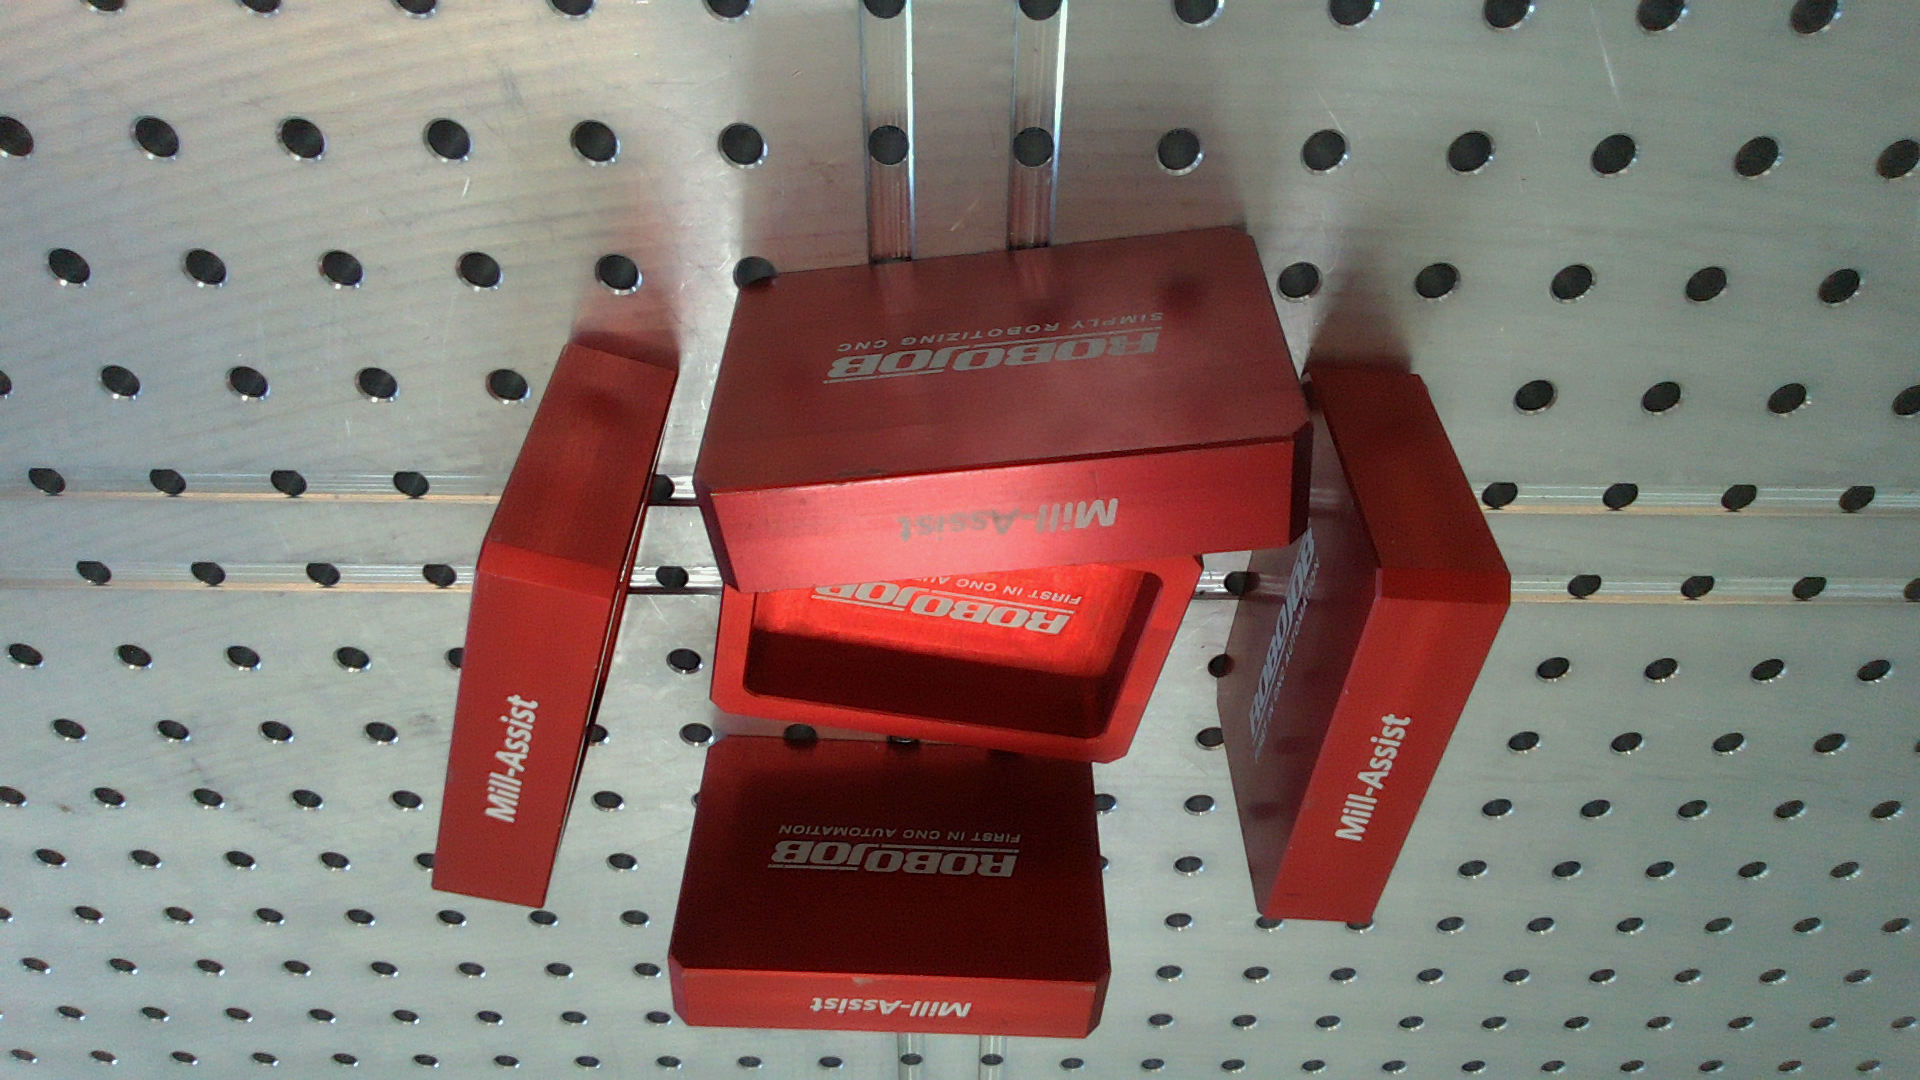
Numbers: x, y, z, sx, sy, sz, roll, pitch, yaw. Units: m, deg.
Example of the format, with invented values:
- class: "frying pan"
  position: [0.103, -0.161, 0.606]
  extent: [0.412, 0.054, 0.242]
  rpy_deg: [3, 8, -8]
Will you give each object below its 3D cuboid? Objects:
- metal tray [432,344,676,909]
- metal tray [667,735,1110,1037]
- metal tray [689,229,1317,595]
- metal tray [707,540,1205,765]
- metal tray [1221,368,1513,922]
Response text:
- class: "metal tray"
  position: [-0.110, 0.025, 0.371]
  extent: [0.030, 0.090, 0.130]
  rpy_deg: [14, 129, -11]
- class: "metal tray"
  position: [-0.021, 0.109, 0.443]
  extent: [0.130, 0.090, 0.030]
  rpy_deg: [3, 130, -2]
- class: "metal tray"
  position: [0.010, -0.033, 0.323]
  extent: [0.130, 0.090, 0.030]
  rpy_deg: [-5, 130, 4]
- class: "metal tray"
  position: [-0.004, 0.019, 0.405]
  extent: [0.130, 0.030, 0.090]
  rpy_deg: [8, 130, -8]
- class: "metal tray"
  position: [0.103, 0.030, 0.377]
  extent: [0.030, 0.090, 0.130]
  rpy_deg: [3, 130, -3]
